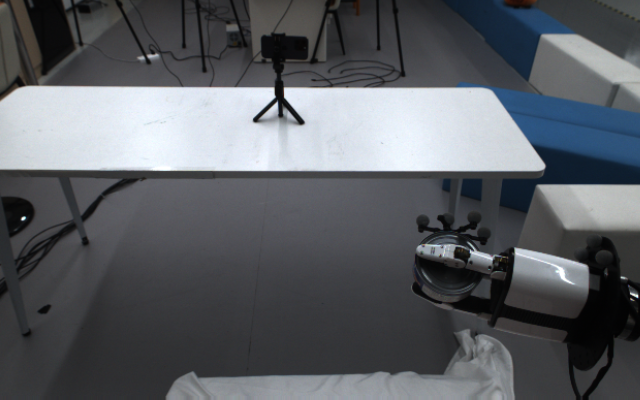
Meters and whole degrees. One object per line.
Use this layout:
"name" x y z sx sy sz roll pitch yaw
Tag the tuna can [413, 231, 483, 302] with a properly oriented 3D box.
"tuna can" 0.163 0.079 0.612 0.085 0.034 0.085 -2 57 3
